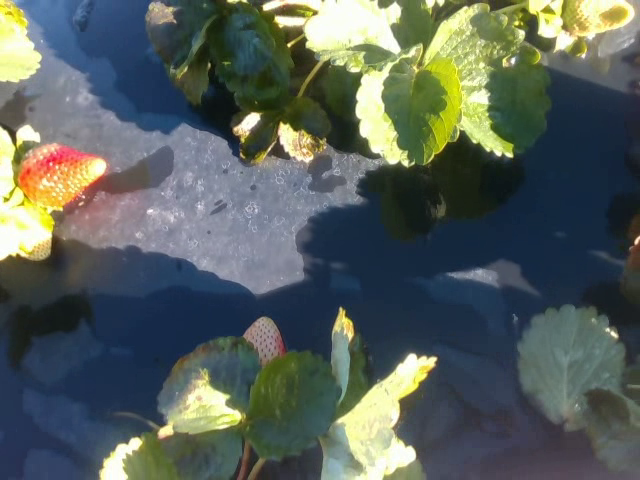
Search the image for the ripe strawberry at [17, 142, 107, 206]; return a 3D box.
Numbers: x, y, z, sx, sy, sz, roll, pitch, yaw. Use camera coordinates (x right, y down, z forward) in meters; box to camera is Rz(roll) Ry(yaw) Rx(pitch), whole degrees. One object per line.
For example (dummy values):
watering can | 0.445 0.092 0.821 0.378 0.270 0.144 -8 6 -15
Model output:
ripe strawberry | -0.159 -0.043 0.399 0.064 0.050 0.052 -11 17 13
